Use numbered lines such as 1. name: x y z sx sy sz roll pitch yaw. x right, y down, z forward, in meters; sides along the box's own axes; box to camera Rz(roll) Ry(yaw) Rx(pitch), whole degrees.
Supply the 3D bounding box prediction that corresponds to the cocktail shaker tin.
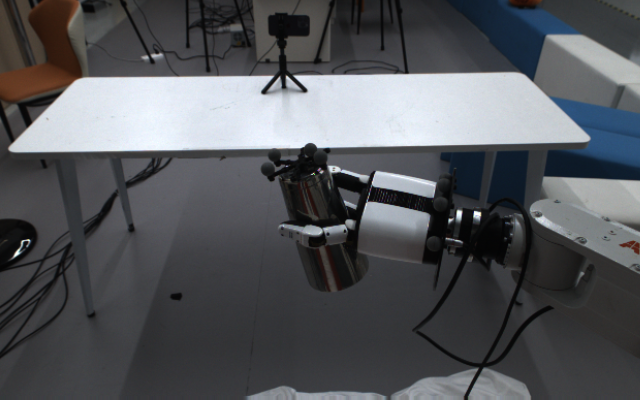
1. cocktail shaker tin: 0.002 0.031 0.658 0.093 0.170 0.093 -15 29 8
